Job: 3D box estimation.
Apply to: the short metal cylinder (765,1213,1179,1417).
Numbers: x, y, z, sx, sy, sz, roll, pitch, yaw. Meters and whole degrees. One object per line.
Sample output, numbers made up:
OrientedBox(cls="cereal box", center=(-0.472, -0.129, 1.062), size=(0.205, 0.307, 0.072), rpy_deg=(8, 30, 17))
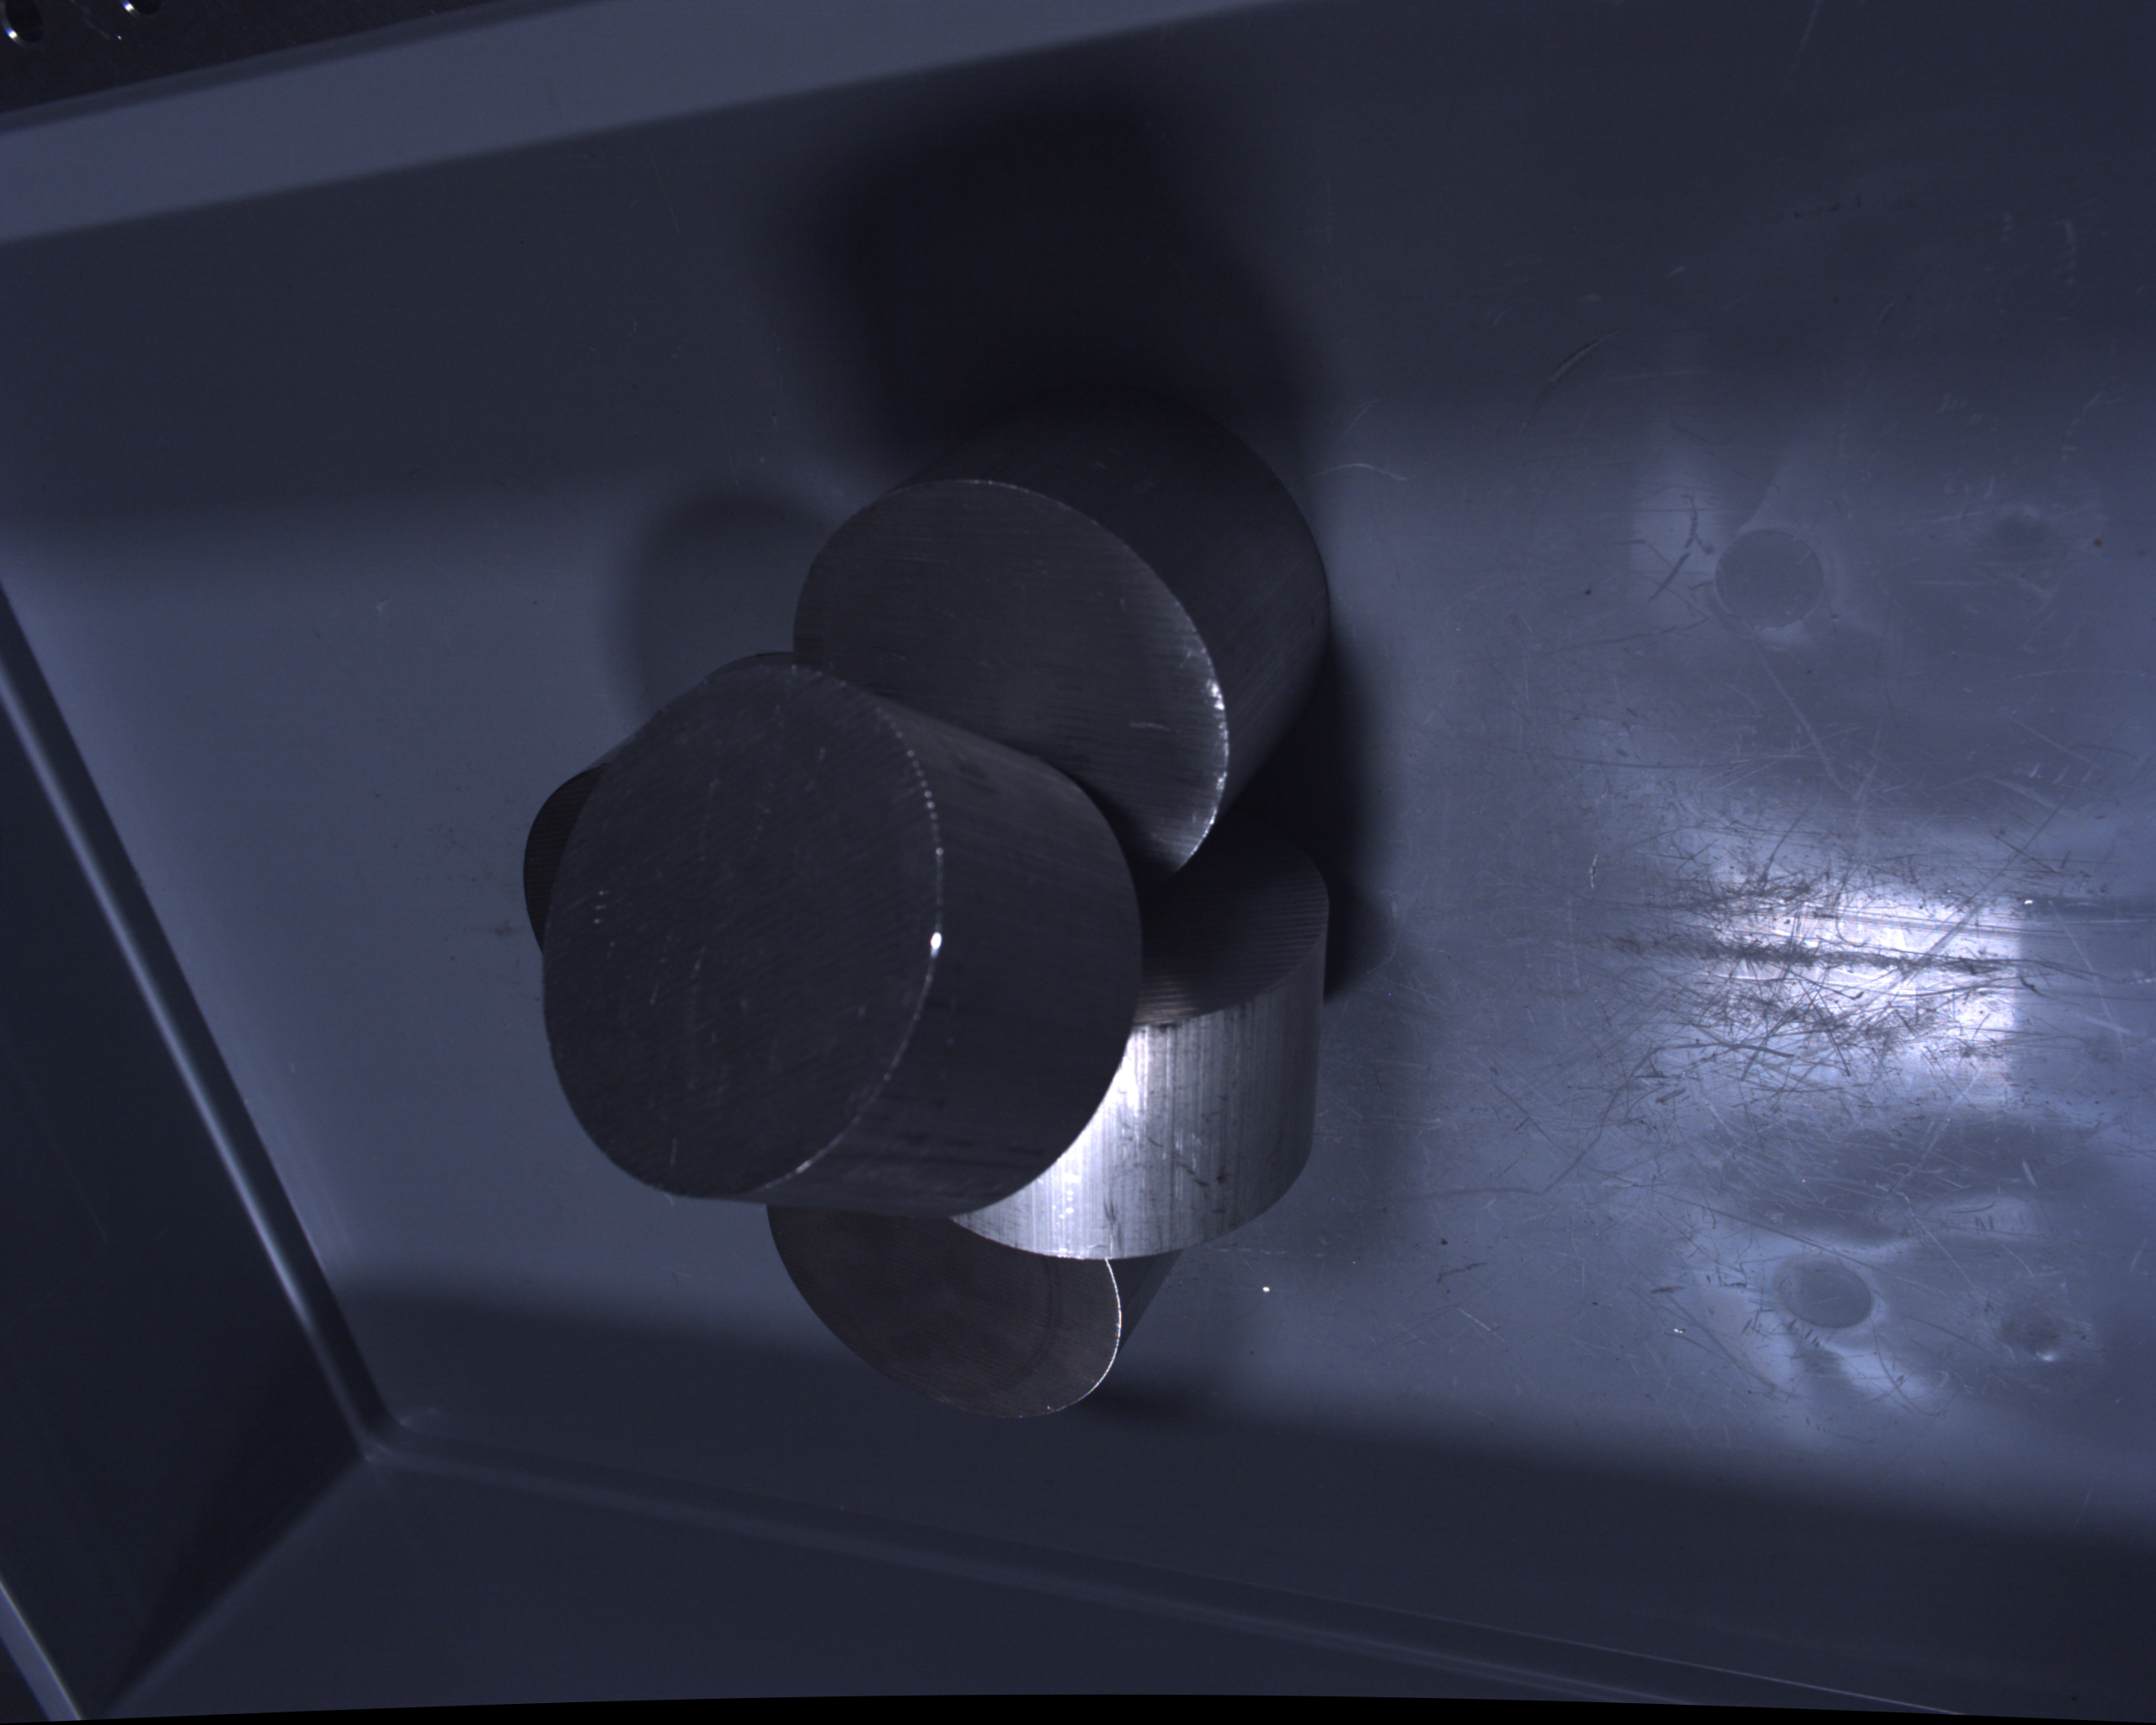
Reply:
OrientedBox(cls="short metal cylinder", center=(-0.018, 0.069, 0.441), size=(0.080, 0.050, 0.079), rpy_deg=(13, 124, 20))

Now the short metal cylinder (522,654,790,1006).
OrientedBox(cls="short metal cylinder", center=(-0.064, 0.004, 0.424), size=(0.080, 0.050, 0.079), rpy_deg=(13, 124, 20))

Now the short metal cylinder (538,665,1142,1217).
OrientedBox(cls="short metal cylinder", center=(-0.037, 0.014, 0.327), size=(0.080, 0.050, 0.080), rpy_deg=(-9, 74, 33))

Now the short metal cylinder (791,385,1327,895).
OrientedBox(cls="short metal cylinder", center=(-0.003, -0.038, 0.367), size=(0.080, 0.050, 0.079), rpy_deg=(13, 124, 20))

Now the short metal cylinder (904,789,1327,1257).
OrientedBox(cls="short metal cylinder", center=(0.004, 0.027, 0.385), size=(0.080, 0.080, 0.050), rpy_deg=(13, 124, 21))
